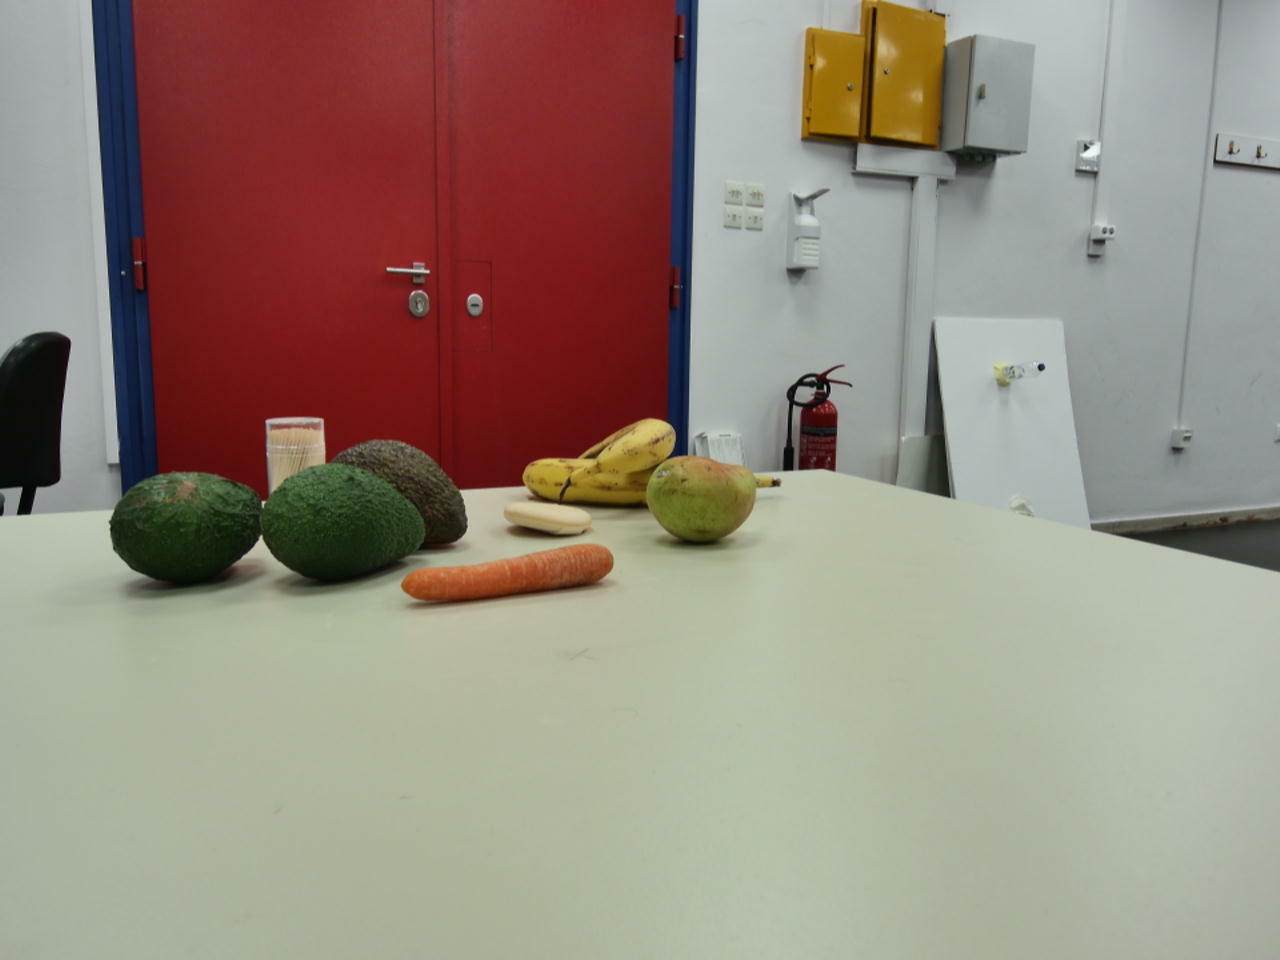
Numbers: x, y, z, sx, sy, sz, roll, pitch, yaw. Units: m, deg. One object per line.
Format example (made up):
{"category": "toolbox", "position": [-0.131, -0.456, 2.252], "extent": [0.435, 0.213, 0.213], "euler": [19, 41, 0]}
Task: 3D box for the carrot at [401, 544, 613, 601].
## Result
{"category": "carrot", "position": [-0.070, 0.051, 0.551], "extent": [0.122, 0.023, 0.024], "euler": [-4, 8, -28]}
